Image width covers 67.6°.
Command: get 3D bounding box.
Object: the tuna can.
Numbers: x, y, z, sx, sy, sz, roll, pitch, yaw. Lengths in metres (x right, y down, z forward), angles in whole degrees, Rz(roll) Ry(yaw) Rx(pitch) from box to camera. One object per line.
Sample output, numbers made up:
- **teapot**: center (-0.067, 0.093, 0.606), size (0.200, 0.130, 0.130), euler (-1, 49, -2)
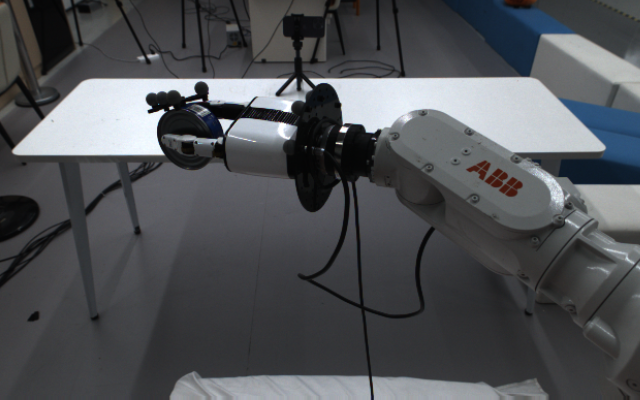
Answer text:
- **tuna can**: center (-0.170, -0.084, 0.655), size (0.085, 0.085, 0.034), euler (12, 27, 15)
